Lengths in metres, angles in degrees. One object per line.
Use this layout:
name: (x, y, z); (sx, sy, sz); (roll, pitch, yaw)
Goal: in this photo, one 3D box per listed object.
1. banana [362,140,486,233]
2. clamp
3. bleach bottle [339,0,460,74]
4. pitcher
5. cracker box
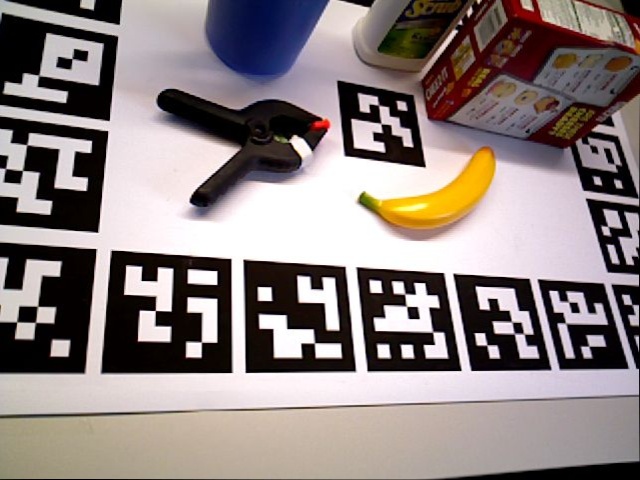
banana: (0.134, -0.057, 0.602); (0.193, 0.040, 0.074); (-33, 81, -31)
clamp: (-0.069, -0.096, 0.528); (0.162, 0.037, 0.121); (-13, 70, -29)
bleach bottle: (0.113, -0.287, 0.566); (0.101, 0.256, 0.067); (3, 63, -21)
pitcher: (-0.048, -0.270, 0.469); (0.185, 0.248, 0.133); (-15, 71, -31)
cracker box: (0.253, -0.197, 0.615); (0.211, 0.168, 0.071); (5, 61, -19)
